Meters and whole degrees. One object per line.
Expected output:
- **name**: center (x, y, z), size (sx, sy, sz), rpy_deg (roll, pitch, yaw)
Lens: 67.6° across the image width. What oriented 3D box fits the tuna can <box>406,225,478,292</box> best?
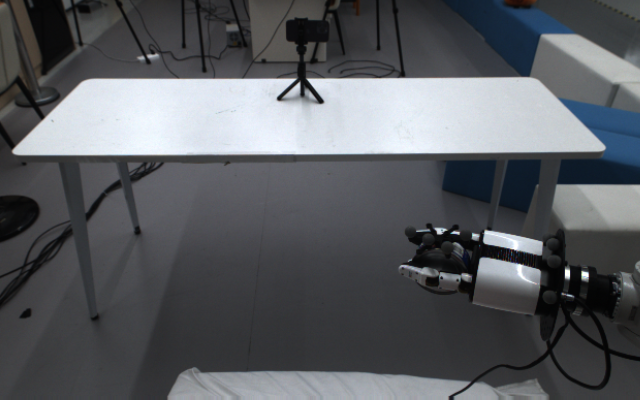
- **tuna can**: center (0.184, 0.098, 0.728), size (0.085, 0.085, 0.034), rpy_deg (15, 35, 18)
